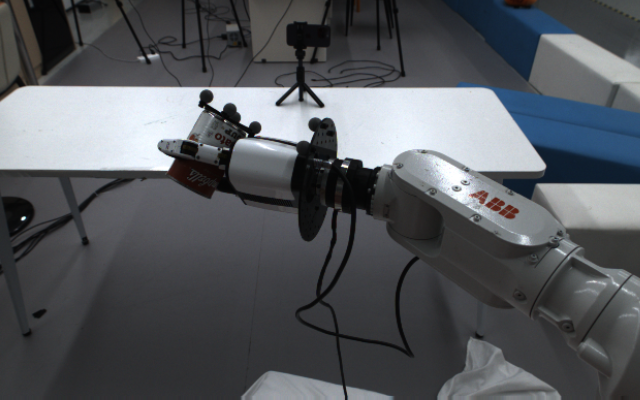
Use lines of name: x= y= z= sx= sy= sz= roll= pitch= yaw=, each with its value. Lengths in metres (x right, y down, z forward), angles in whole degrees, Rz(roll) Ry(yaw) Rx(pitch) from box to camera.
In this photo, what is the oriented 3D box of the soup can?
soup can: x=-0.152 y=-0.060 z=0.650 sx=0.067 sy=0.101 sz=0.067 roll=29 pitch=-2 yaw=1
